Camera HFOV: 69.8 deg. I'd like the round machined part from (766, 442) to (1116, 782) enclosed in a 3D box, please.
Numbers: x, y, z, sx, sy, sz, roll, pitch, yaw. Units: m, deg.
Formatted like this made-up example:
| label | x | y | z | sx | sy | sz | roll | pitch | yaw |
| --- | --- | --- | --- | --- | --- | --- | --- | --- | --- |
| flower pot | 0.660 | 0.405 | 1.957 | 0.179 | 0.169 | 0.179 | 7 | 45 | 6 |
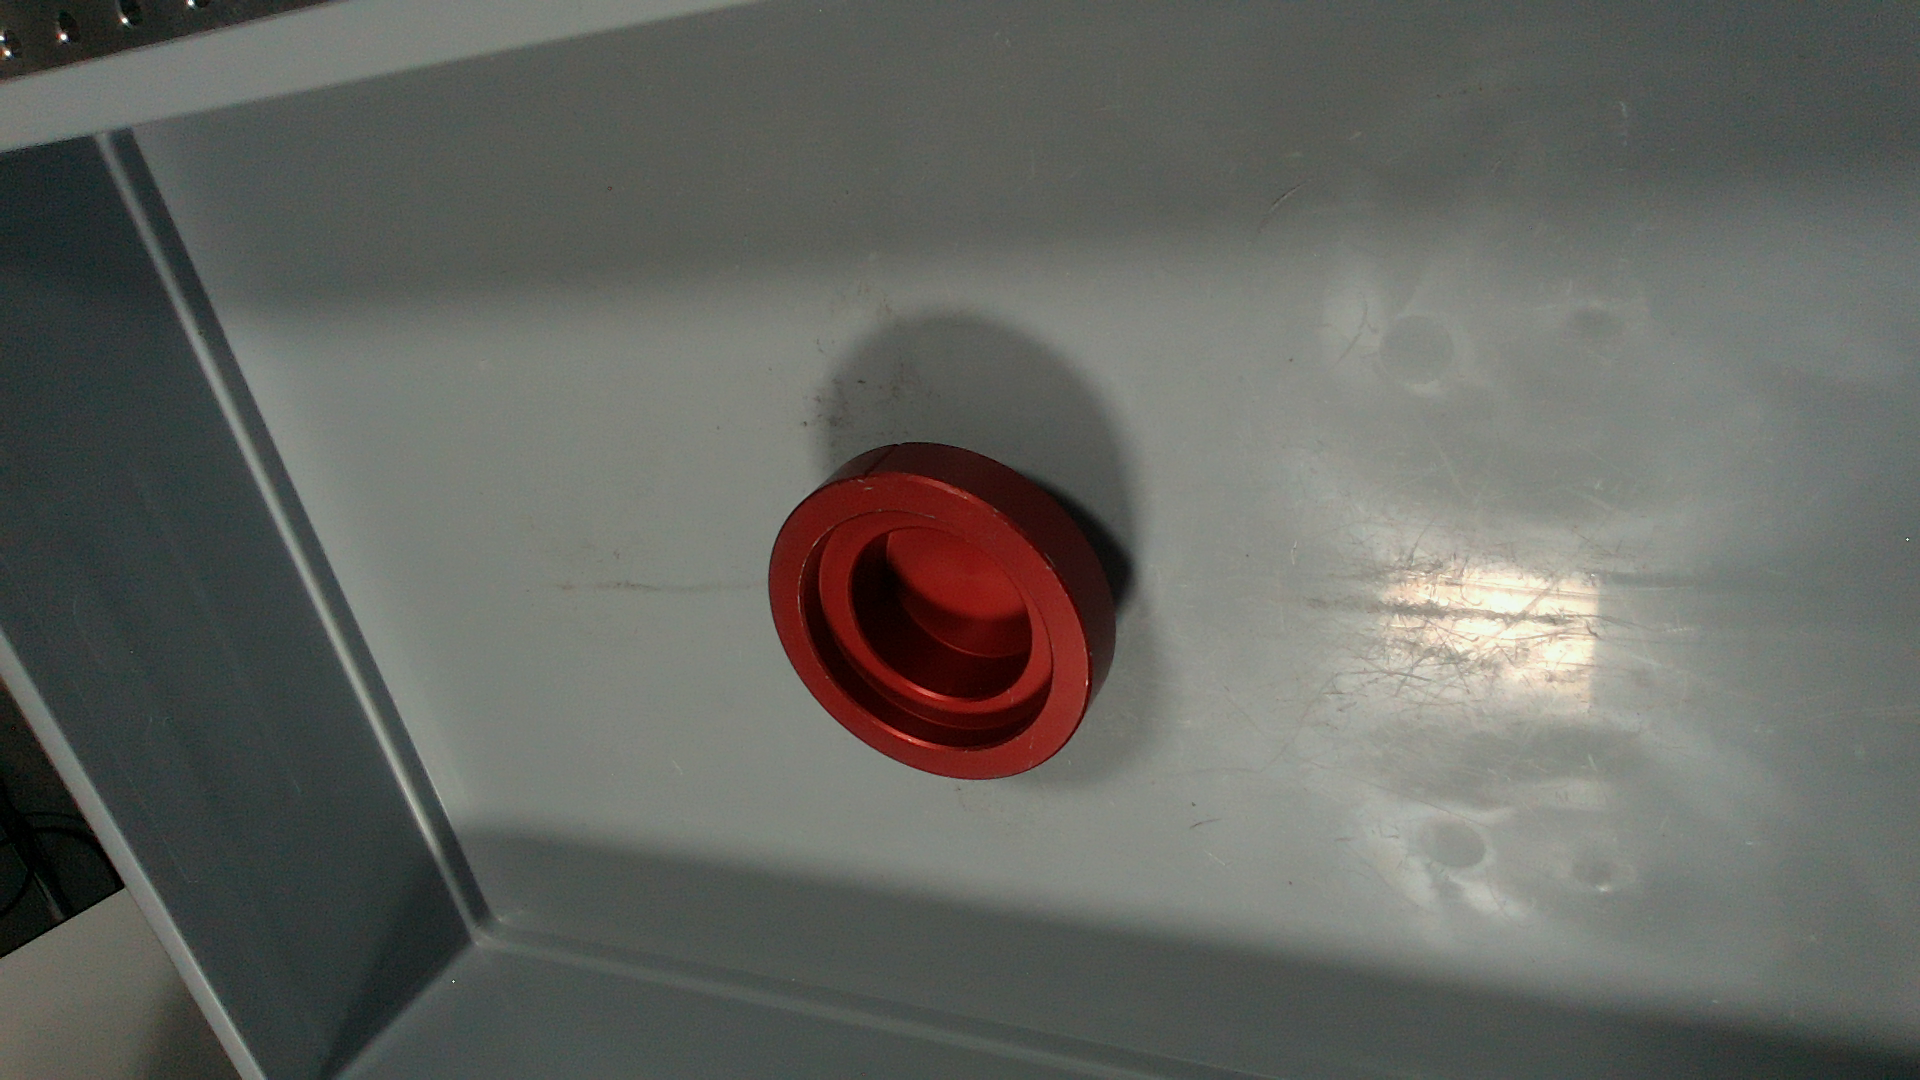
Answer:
| label | x | y | z | sx | sy | sz | roll | pitch | yaw |
| --- | --- | --- | --- | --- | --- | --- | --- | --- | --- |
| round machined part | -0.002 | 0.016 | 0.389 | 0.098 | 0.042 | 0.098 | 13 | 124 | 21 |
